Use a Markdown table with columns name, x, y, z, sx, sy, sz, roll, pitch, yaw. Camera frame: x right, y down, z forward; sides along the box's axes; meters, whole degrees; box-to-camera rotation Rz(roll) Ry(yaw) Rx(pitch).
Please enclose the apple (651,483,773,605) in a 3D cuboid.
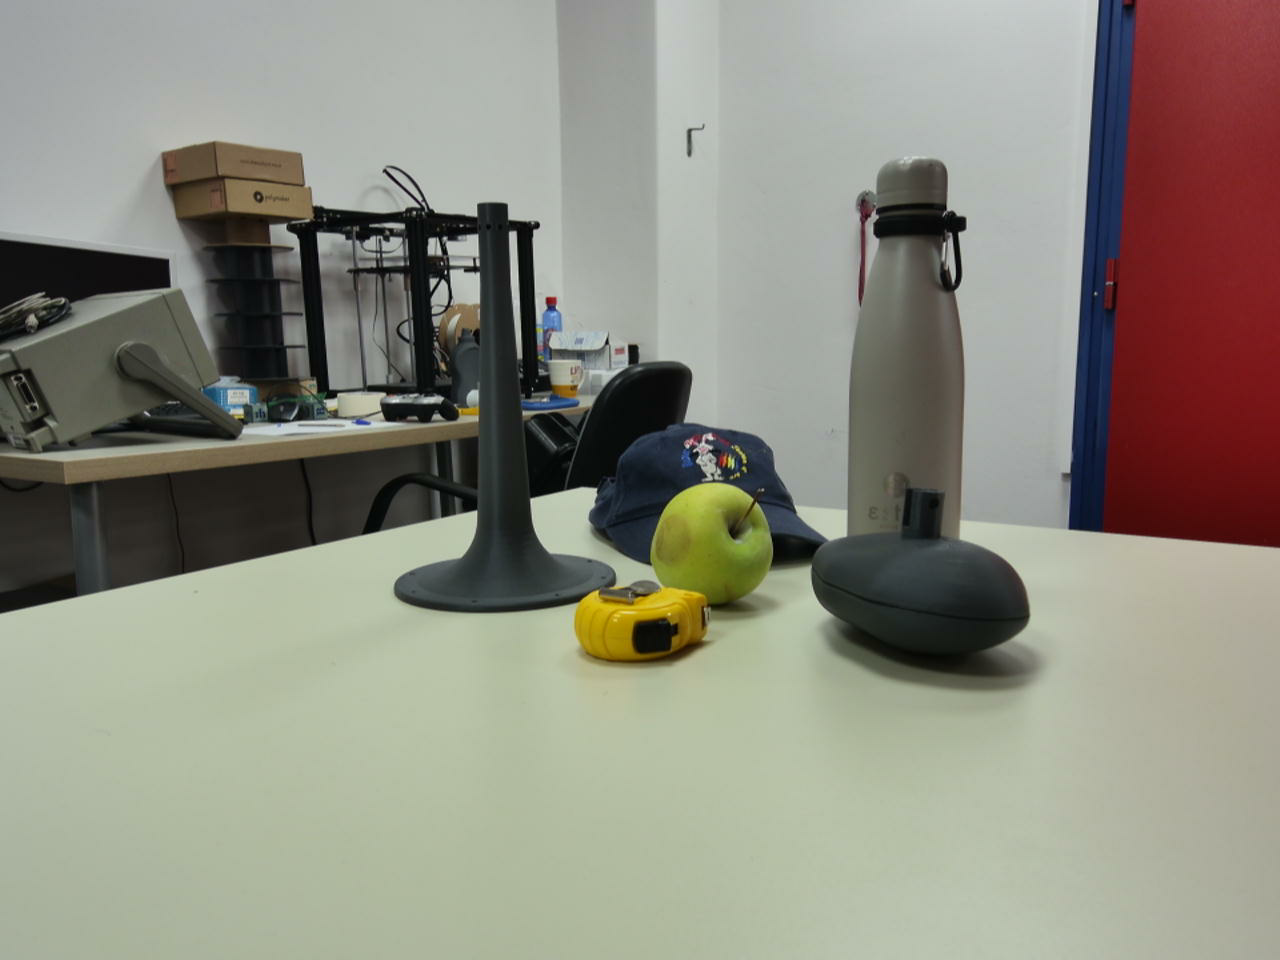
| name | x | y | z | sx | sy | sz | roll | pitch | yaw |
| --- | --- | --- | --- | --- | --- | --- | --- | --- | --- |
| apple | 0.045 | 0.040 | 0.625 | 0.072 | 0.075 | 0.077 | -3 | 7 | -11 |
